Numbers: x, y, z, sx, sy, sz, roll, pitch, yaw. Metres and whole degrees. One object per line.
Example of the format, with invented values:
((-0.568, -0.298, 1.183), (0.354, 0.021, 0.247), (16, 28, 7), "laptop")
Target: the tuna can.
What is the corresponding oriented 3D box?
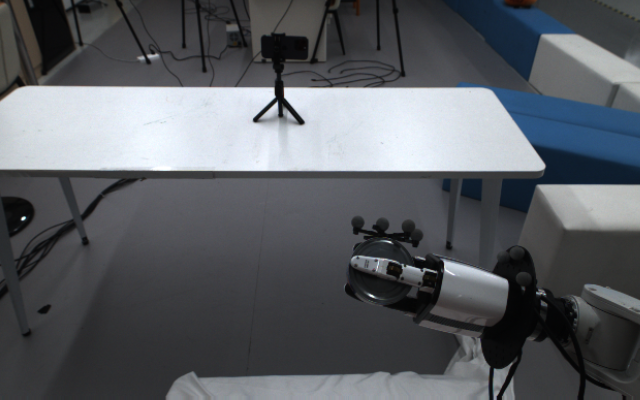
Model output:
((0.079, 0.089, 0.624), (0.085, 0.034, 0.085), (1, 72, -3), "tuna can")
